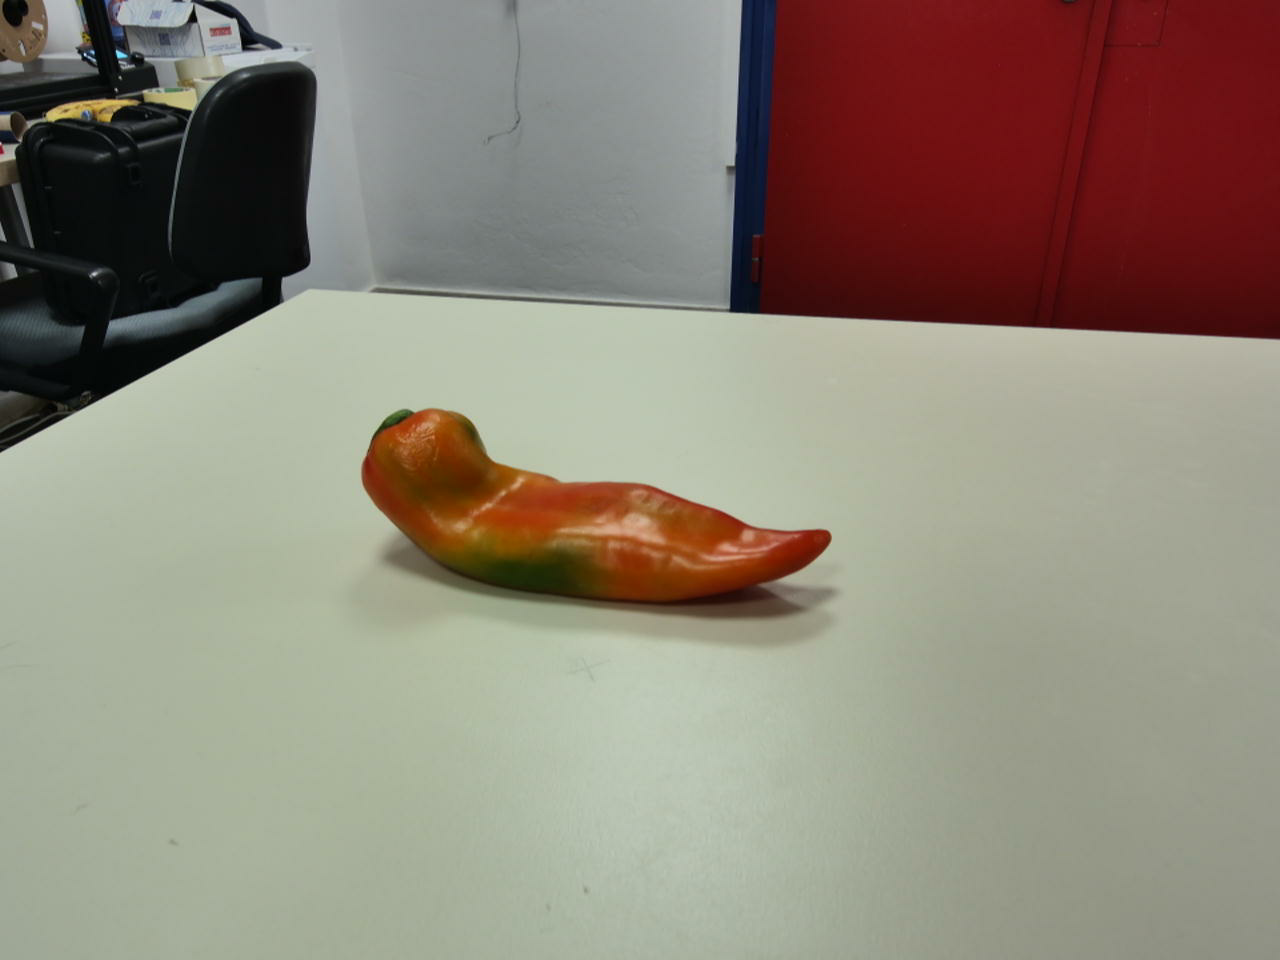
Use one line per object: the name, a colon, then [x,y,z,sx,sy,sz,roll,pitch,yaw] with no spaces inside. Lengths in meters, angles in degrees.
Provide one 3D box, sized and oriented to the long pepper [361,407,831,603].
long pepper: [-0.022,0.009,0.414,0.199,0.065,0.066,7,25,17]
